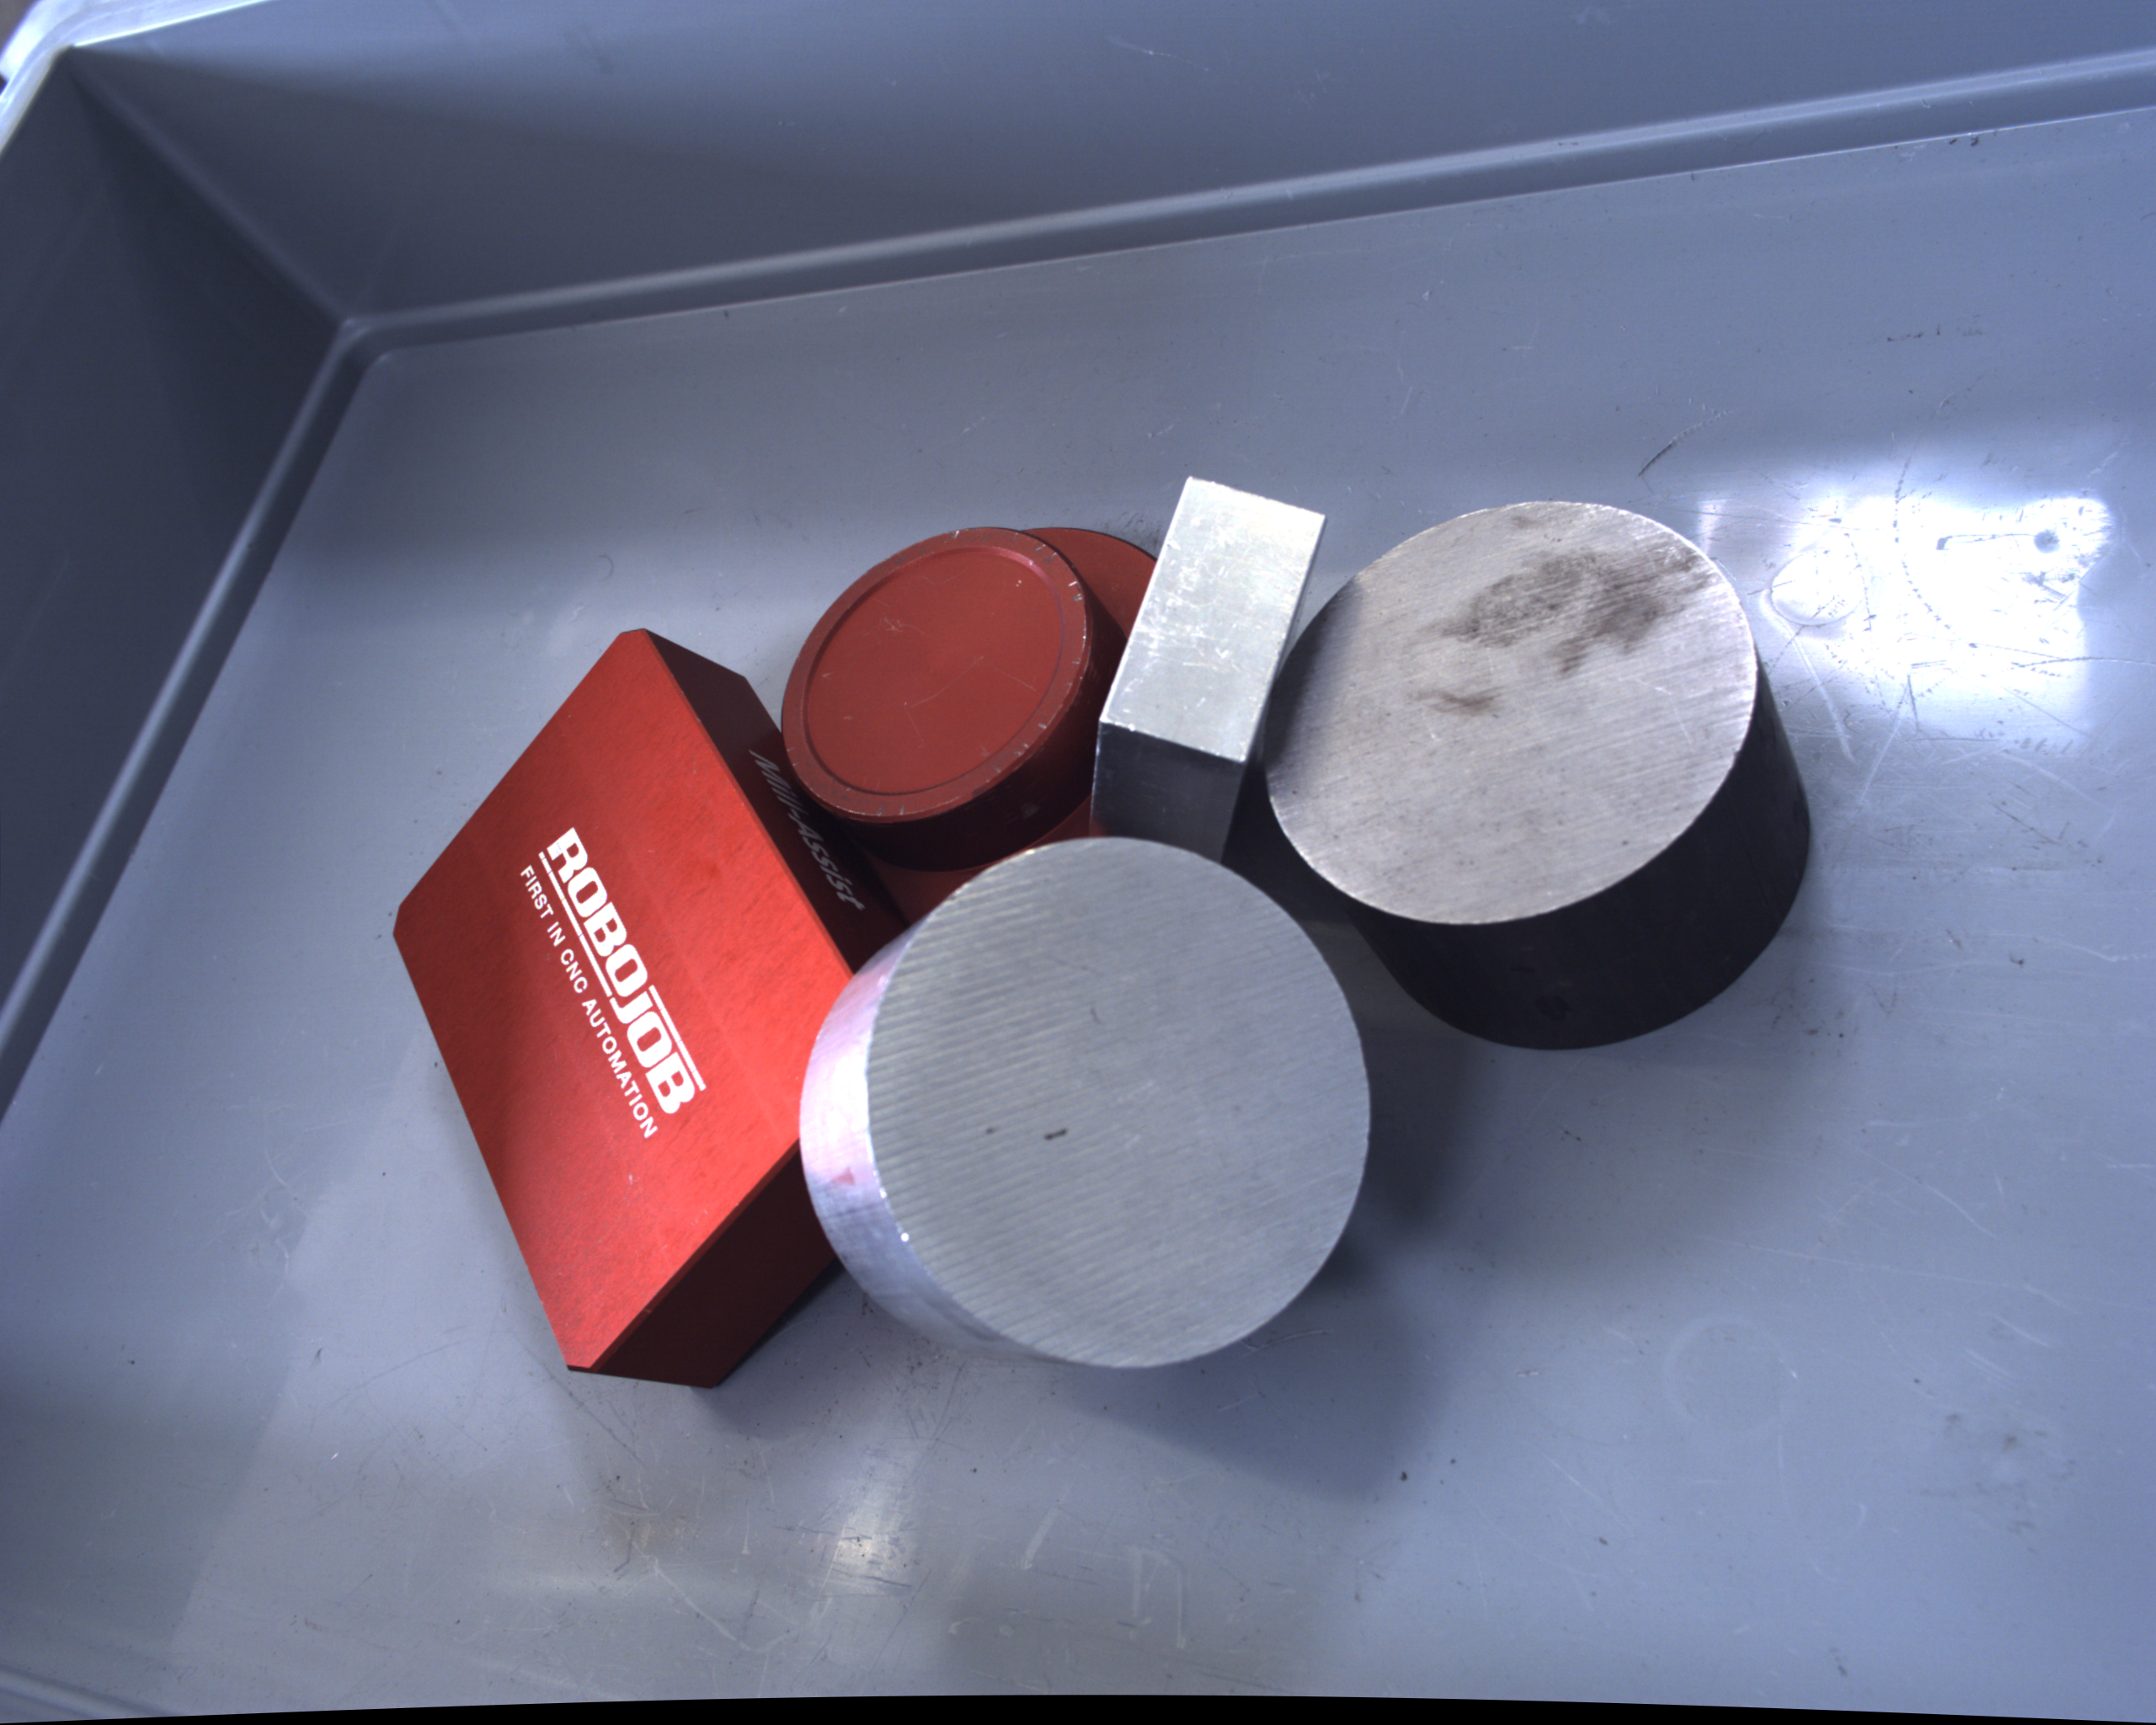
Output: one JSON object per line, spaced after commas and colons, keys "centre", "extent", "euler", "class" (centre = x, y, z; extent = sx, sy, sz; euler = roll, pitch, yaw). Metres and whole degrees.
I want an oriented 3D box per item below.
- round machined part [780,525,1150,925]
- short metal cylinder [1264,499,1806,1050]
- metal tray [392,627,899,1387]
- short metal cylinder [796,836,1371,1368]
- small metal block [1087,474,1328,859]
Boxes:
{"centre": [-0.020, -0.029, 0.420], "extent": [0.098, 0.042, 0.098], "euler": [-13, 56, 21], "class": "round machined part"}
{"centre": [0.078, -0.015, 0.355], "extent": [0.080, 0.050, 0.080], "euler": [-13, 56, 21], "class": "short metal cylinder"}
{"centre": [-0.082, 0.025, 0.413], "extent": [0.090, 0.030, 0.130], "euler": [-48, 50, 14], "class": "metal tray"}
{"centre": [-0.001, 0.040, 0.336], "extent": [0.080, 0.080, 0.050], "euler": [-67, 12, -19], "class": "short metal cylinder"}
{"centre": [0.022, -0.032, 0.372], "extent": [0.025, 0.050, 0.050], "euler": [18, 67, 5], "class": "small metal block"}
